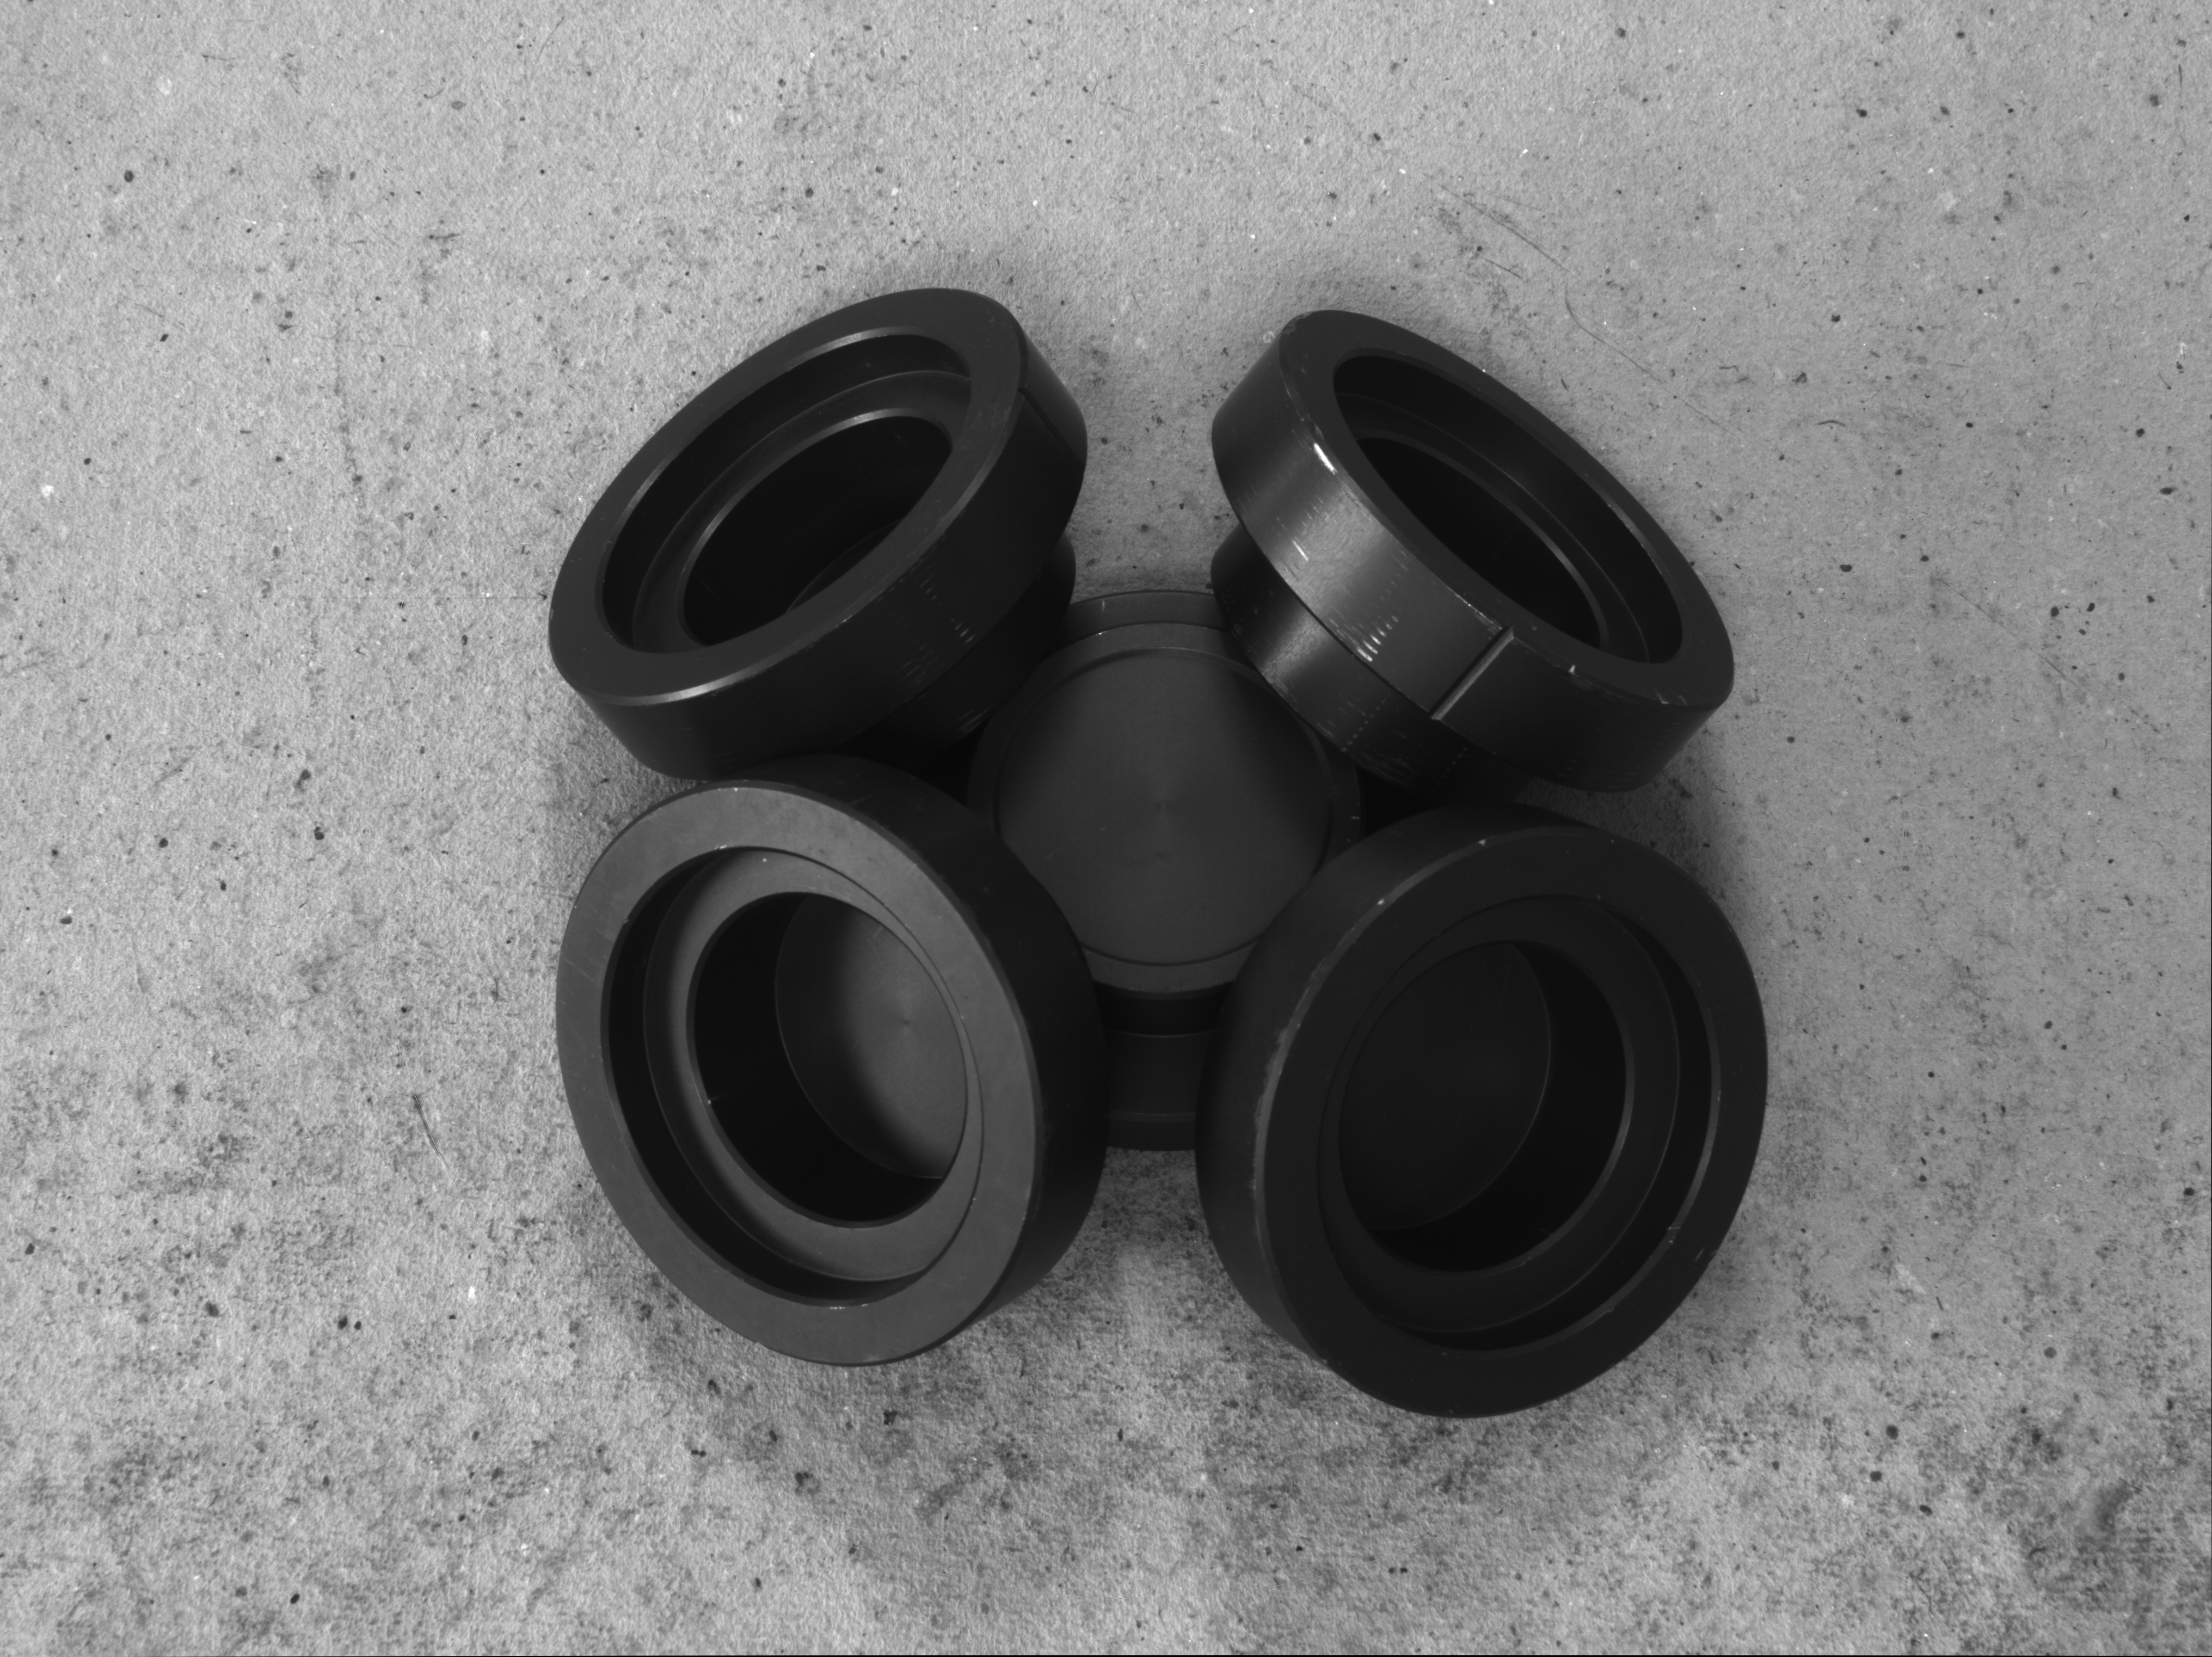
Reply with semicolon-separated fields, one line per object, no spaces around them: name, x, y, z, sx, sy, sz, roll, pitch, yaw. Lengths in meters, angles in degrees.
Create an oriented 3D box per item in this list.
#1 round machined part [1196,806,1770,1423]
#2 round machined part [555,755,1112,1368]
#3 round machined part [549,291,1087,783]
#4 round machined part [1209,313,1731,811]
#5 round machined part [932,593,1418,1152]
round machined part;0.057;0.044;0.602;0.098;0.042;0.098;-7;106;-27
round machined part;-0.040;0.035;0.604;0.098;0.098;0.042;45;32;15
round machined part;-0.045;-0.044;0.635;0.098;0.042;0.098;-24;36;20
round machined part;0.057;-0.041;0.632;0.098;0.098;0.042;48;117;15
round machined part;0.010;0.003;0.634;0.098;0.042;0.098;0;68;-1
